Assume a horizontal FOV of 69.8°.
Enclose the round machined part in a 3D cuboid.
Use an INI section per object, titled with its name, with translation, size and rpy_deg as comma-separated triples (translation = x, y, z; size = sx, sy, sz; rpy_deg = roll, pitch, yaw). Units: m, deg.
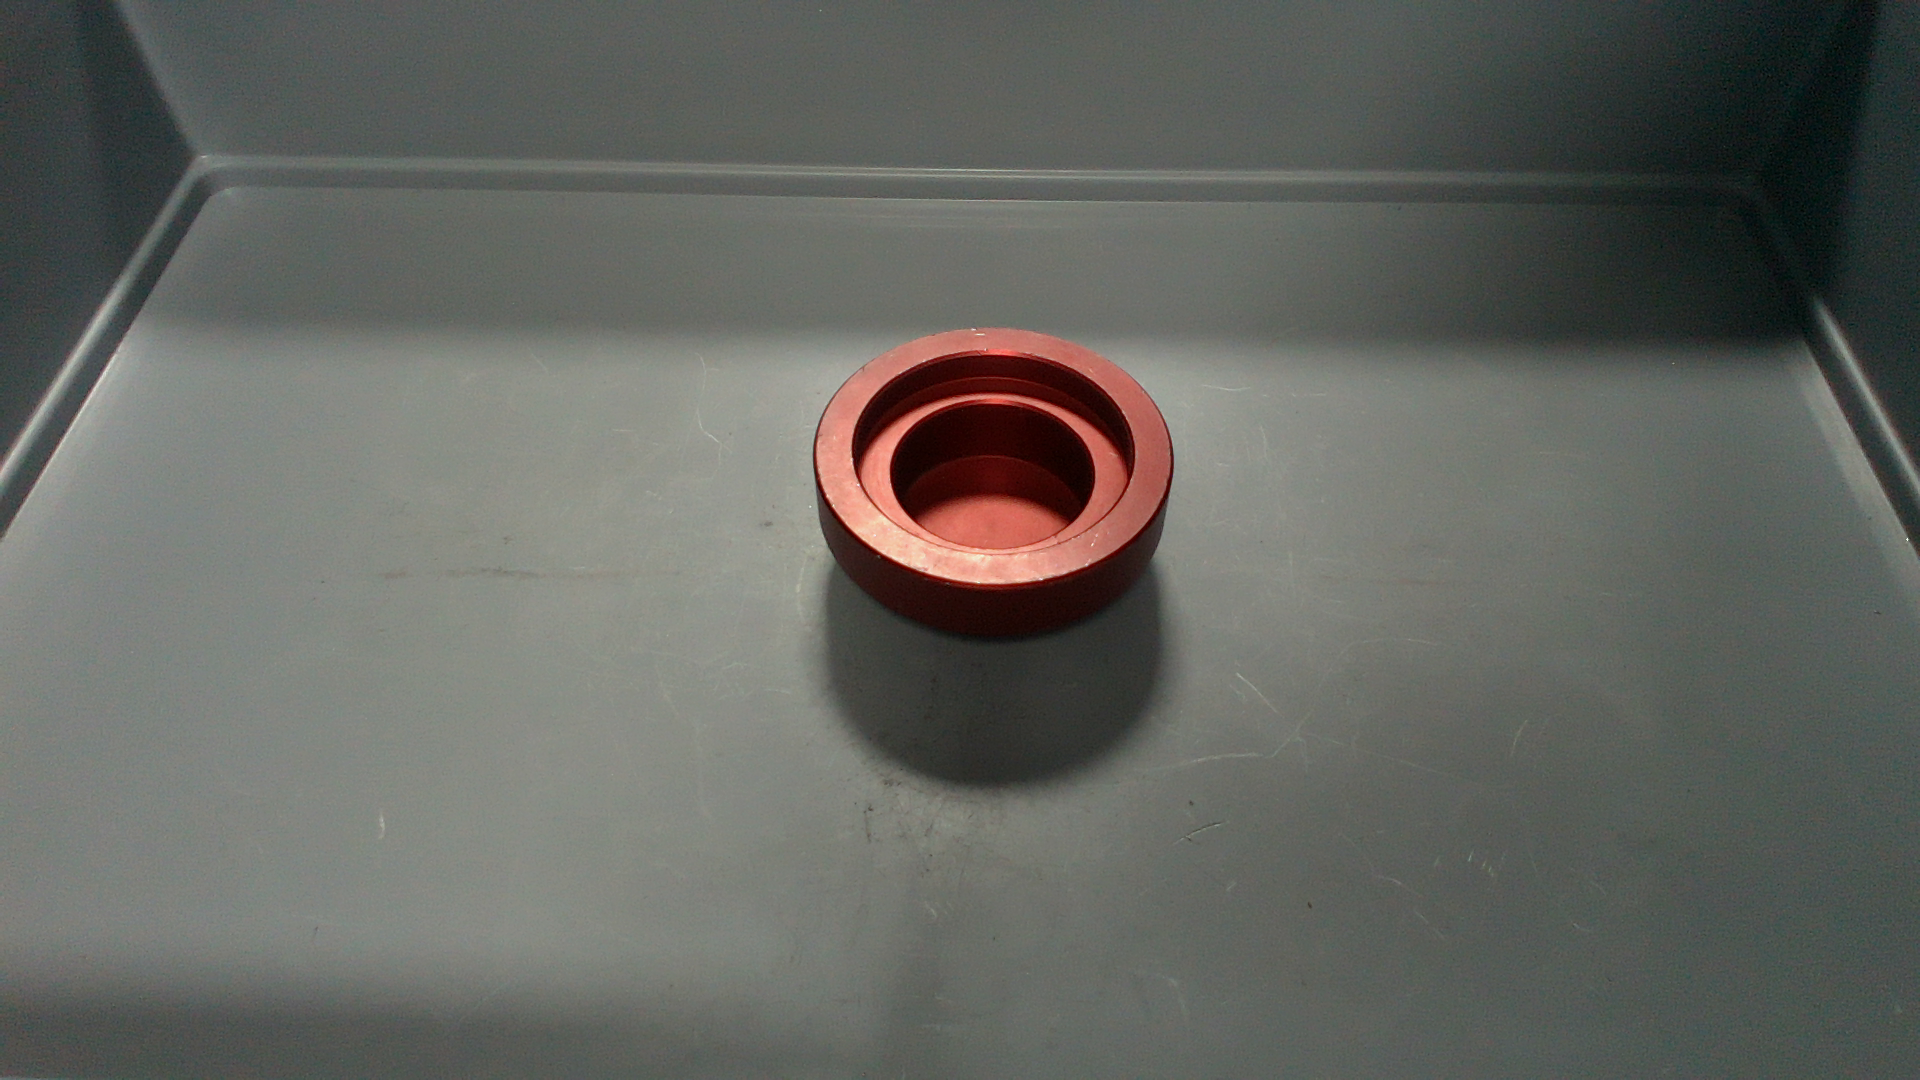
[round machined part]
translation = 0.009, -0.013, 0.387
size = 0.098, 0.042, 0.098
rpy_deg = 0, 50, 0
